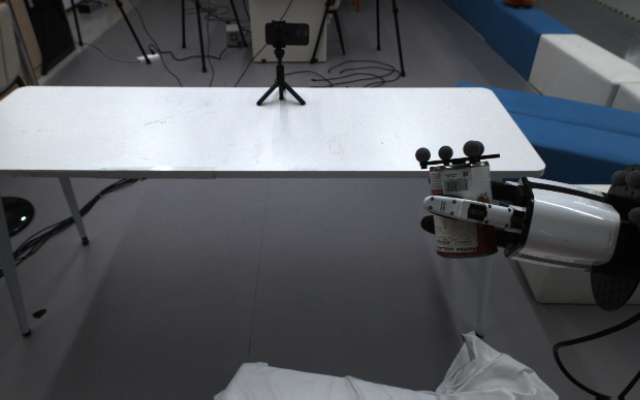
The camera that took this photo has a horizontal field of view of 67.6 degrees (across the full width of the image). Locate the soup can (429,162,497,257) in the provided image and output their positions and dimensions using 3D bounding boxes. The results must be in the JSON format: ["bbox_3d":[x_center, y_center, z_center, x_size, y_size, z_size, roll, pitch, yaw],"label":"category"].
[{"bbox_3d":[0.165,0.009,0.553,0.067,0.101,0.067,-6,3,0],"label":"soup can"}]
